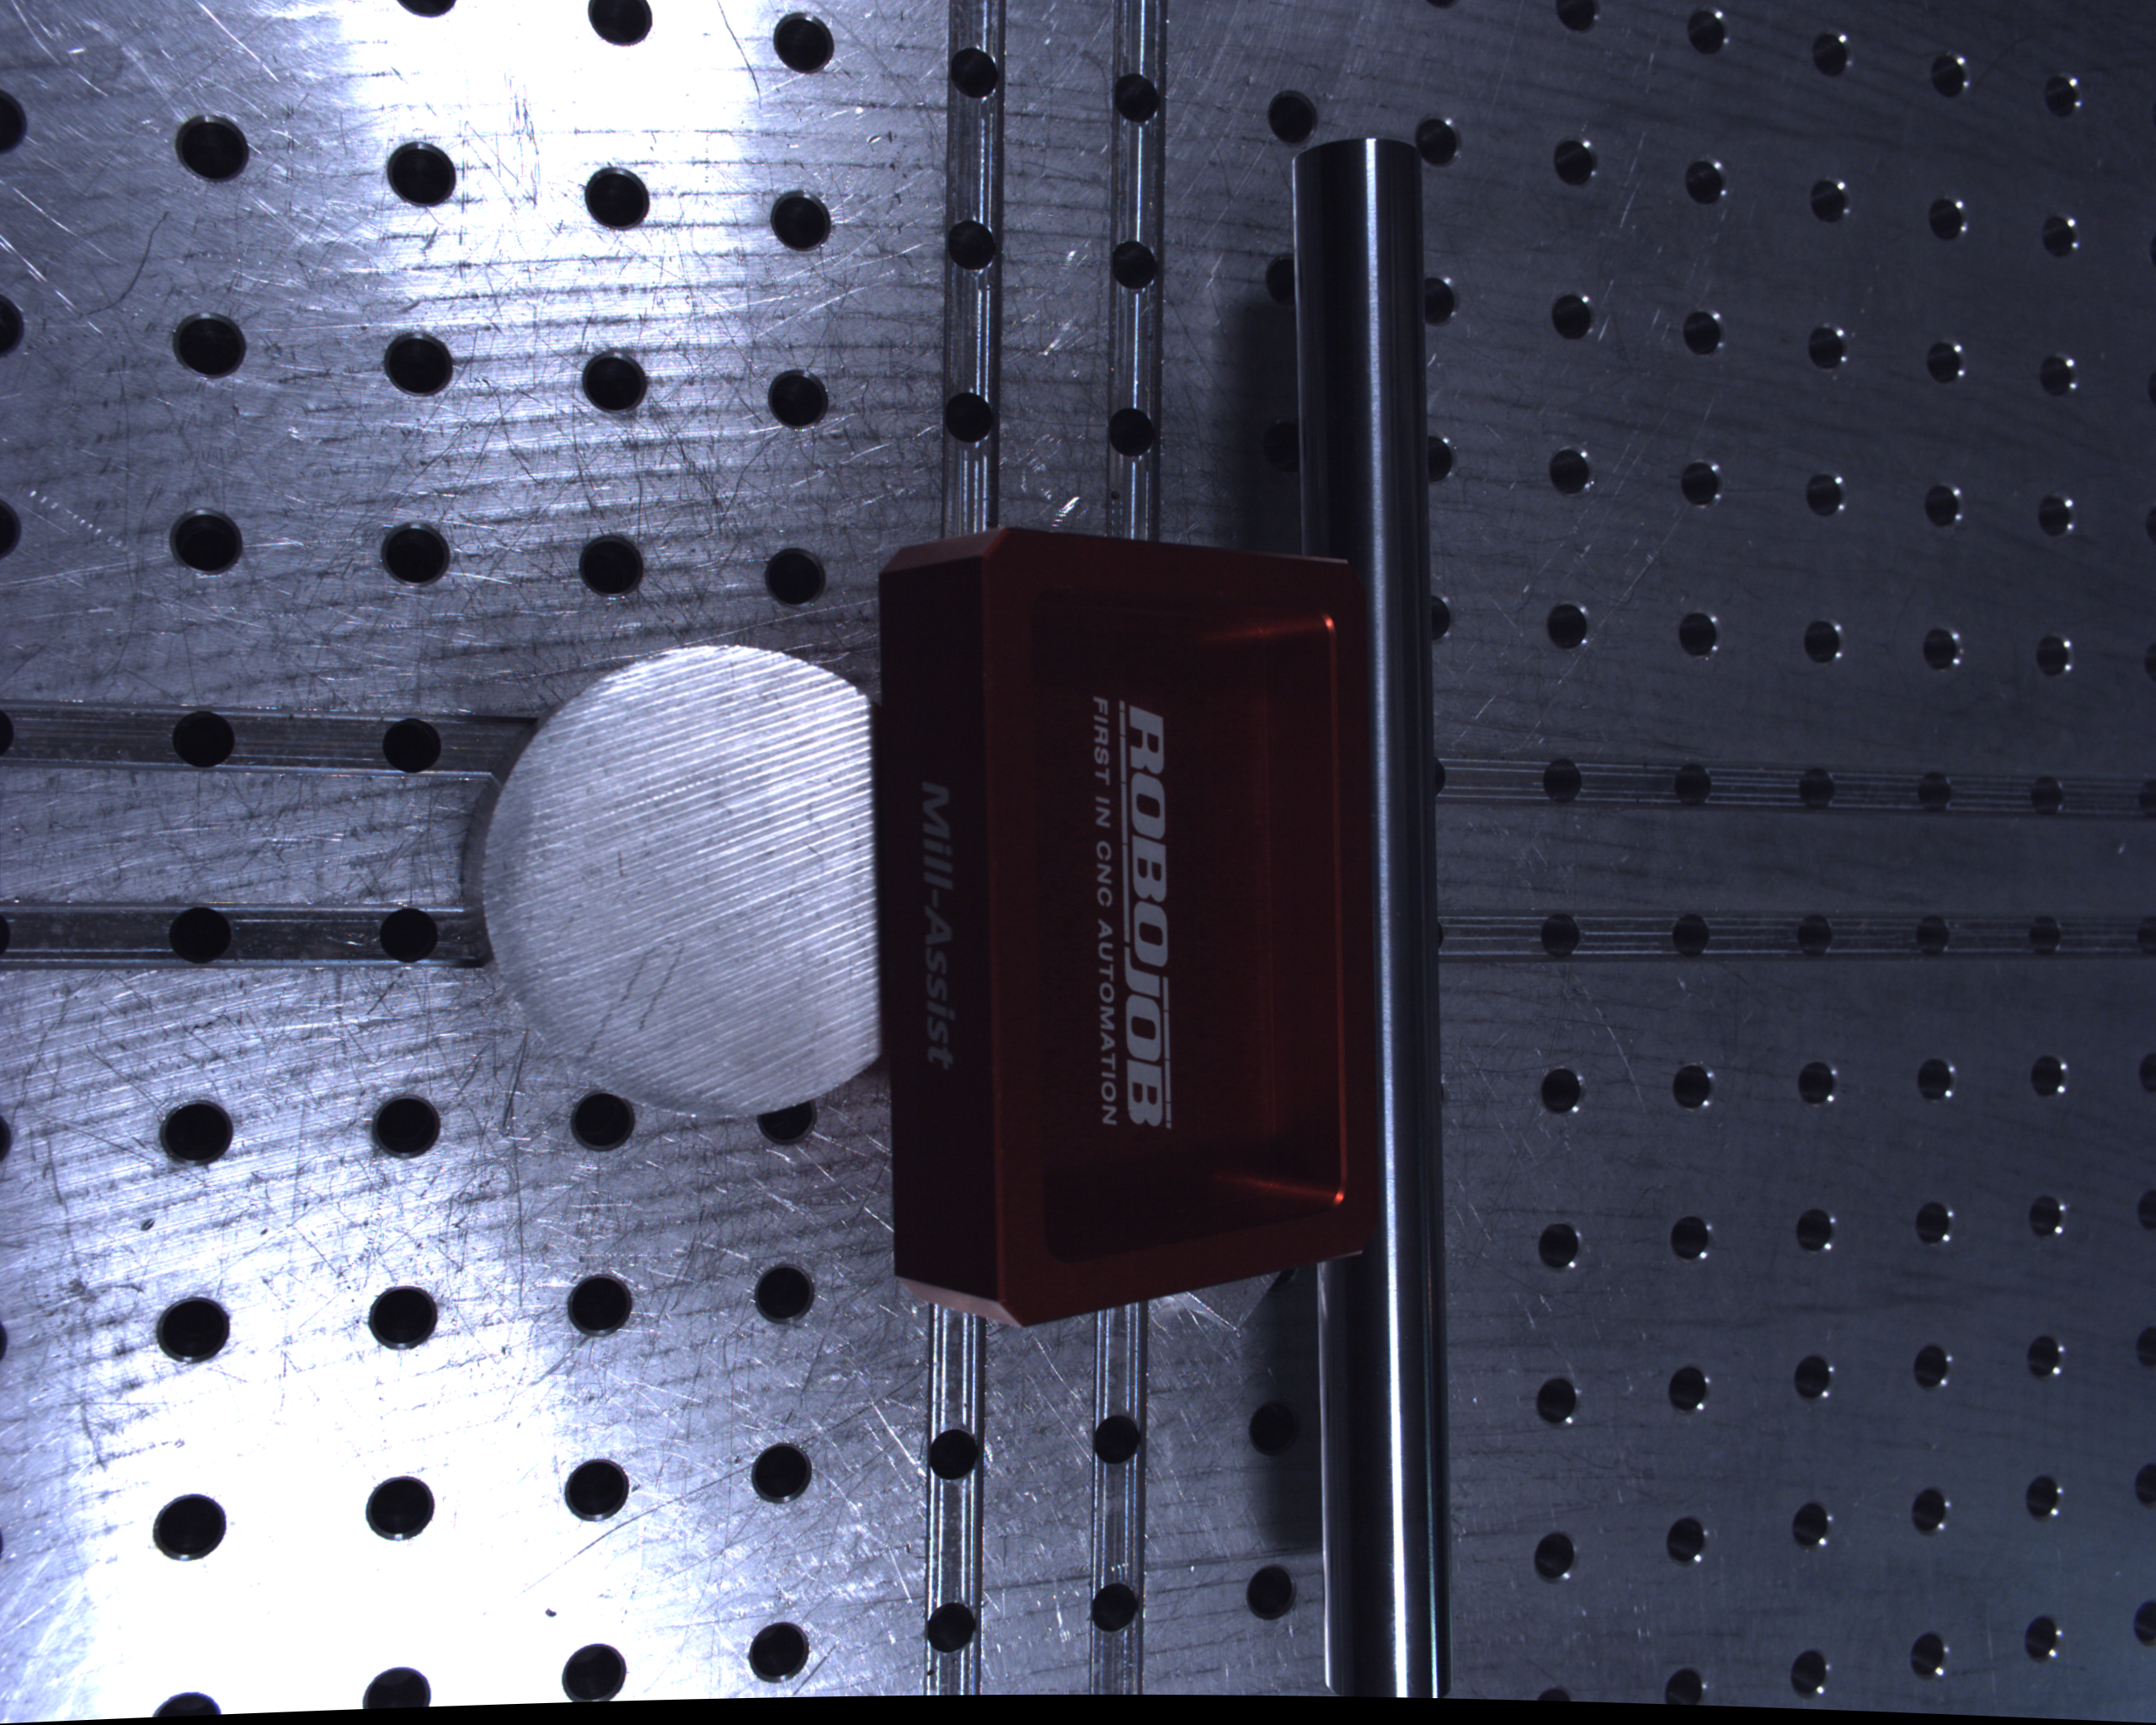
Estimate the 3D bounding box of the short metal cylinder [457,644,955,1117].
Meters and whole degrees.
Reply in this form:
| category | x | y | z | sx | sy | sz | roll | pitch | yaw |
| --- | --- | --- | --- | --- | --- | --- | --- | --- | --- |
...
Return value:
| category | x | y | z | sx | sy | sz | roll | pitch | yaw |
| --- | --- | --- | --- | --- | --- | --- | --- | --- | --- |
| short metal cylinder | -0.068 | 0.003 | 0.374 | 0.081 | 0.050 | 0.079 | 0 | 90 | -21 |

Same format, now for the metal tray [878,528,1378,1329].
| category | x | y | z | sx | sy | sz | roll | pitch | yaw |
| --- | --- | --- | --- | --- | --- | --- | --- | --- | --- |
| metal tray | 0.011 | 0.010 | 0.373 | 0.091 | 0.030 | 0.129 | -2 | 91 | -40 |

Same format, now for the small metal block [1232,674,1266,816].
| category | x | y | z | sx | sy | sz | roll | pitch | yaw |
| --- | --- | --- | --- | --- | --- | --- | --- | --- | --- |
| small metal block | 0.033 | -0.029 | 0.426 | 0.050 | 0.025 | 0.050 | -16 | 96 | -20 |

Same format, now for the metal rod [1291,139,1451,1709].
| category | x | y | z | sx | sy | sz | roll | pitch | yaw |
| --- | --- | --- | --- | --- | --- | --- | --- | --- | --- |
| metal rod | 0.057 | 0.012 | 0.408 | 0.025 | 0.025 | 0.298 | -1 | 91 | -20 |

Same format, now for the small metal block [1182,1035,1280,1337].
| category | x | y | z | sx | sy | sz | roll | pitch | yaw |
| --- | --- | --- | --- | --- | --- | --- | --- | --- | --- |
| small metal block | 0.024 | 0.059 | 0.422 | 0.050 | 0.025 | 0.050 | 41 | 77 | -16 |
